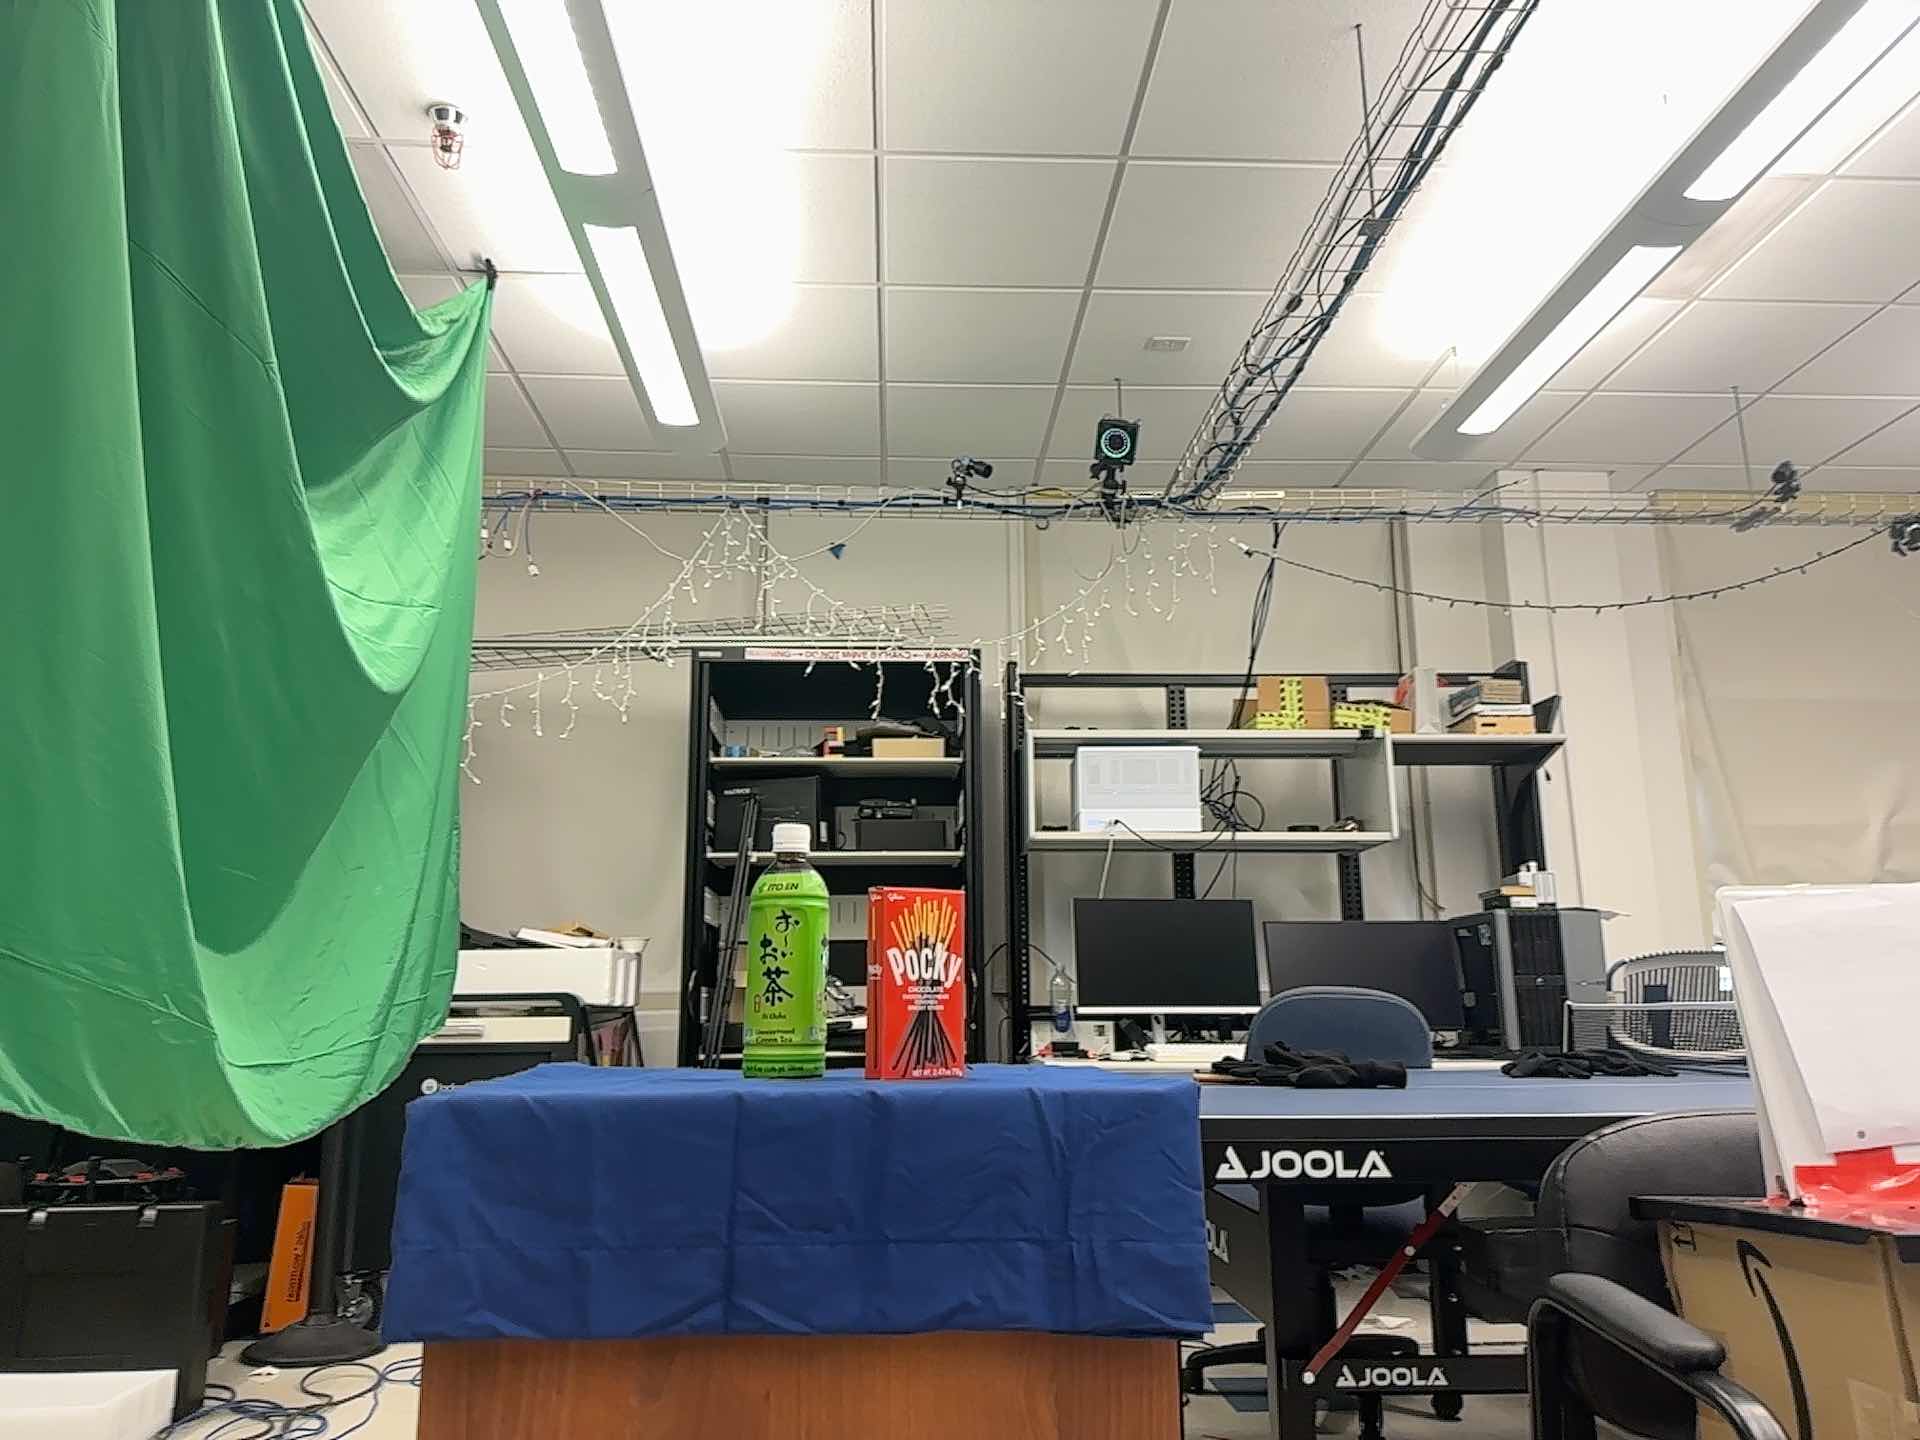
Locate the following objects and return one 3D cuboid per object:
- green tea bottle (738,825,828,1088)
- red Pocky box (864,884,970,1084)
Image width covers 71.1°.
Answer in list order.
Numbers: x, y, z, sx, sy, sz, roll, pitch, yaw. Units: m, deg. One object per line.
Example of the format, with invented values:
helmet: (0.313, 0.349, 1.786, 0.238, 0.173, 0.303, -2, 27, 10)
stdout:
green tea bottle: (-0.146, 0.193, 1.111, 0.073, 0.212, 0.073, -1, -12, 0)
red Pocky box: (-0.033, 0.209, 1.072, 0.083, 0.155, 0.028, 7, -12, -31)
